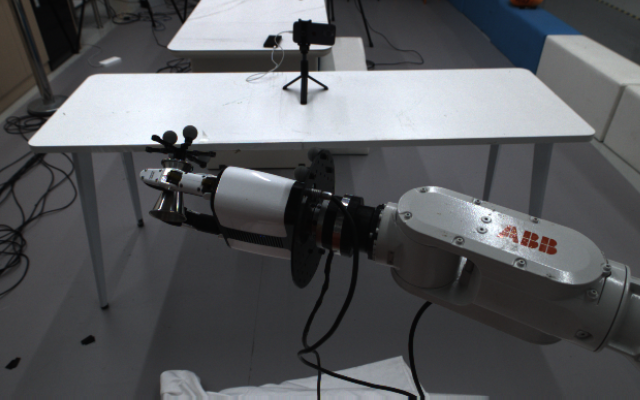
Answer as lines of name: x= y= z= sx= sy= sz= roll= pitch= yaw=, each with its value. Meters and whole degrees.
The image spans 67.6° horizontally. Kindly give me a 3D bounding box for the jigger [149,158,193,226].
jigger: x=-0.180 y=-0.011 z=0.591 sx=0.043 sy=0.043 sz=0.071 roll=5 pitch=71 yaw=3
